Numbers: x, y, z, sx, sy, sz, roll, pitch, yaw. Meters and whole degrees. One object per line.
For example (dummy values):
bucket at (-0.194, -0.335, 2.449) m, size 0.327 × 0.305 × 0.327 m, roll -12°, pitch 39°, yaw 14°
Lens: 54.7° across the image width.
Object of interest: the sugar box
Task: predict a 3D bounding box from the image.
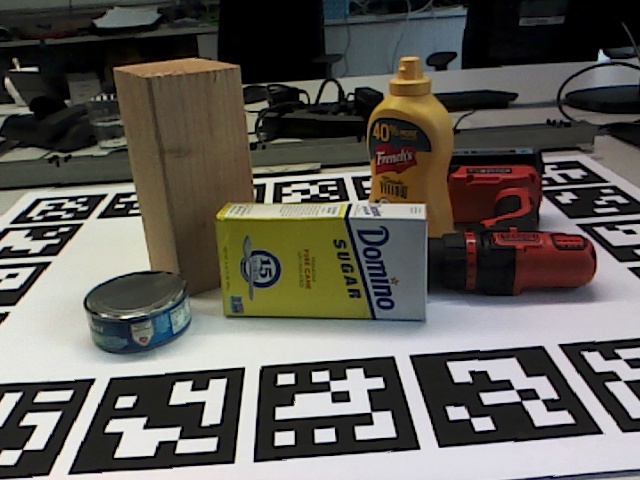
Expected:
sugar box at (0.011, 0.024, 0.534) m, size 0.177 × 0.092 × 0.045 m, roll 2°, pitch 24°, yaw 9°

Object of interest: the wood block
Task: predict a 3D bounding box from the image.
wood block at (-0.122, -0.054, 0.600) m, size 0.090 × 0.206 × 0.090 m, roll -19°, pitch 31°, yaw -27°

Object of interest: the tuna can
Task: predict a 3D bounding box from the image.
tuna can at (-0.152, 0.063, 0.535) m, size 0.086 × 0.033 × 0.086 m, roll -3°, pitch 28°, yaw 1°

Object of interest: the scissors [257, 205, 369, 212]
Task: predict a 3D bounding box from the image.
scissors at (-0.043, -0.030, 0.728) m, size 0.203 × 0.016 × 0.088 m, roll -4°, pitch 23°, yaw 1°

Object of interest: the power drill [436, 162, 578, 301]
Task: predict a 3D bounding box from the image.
power drill at (0.148, -0.013, 0.622) m, size 0.185 × 0.057 × 0.187 m, roll 1°, pitch 34°, yaw 11°

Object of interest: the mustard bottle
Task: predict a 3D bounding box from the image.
mustard bottle at (0.094, -0.084, 0.641) m, size 0.058 × 0.191 × 0.097 m, roll -27°, pitch 36°, yaw -36°
